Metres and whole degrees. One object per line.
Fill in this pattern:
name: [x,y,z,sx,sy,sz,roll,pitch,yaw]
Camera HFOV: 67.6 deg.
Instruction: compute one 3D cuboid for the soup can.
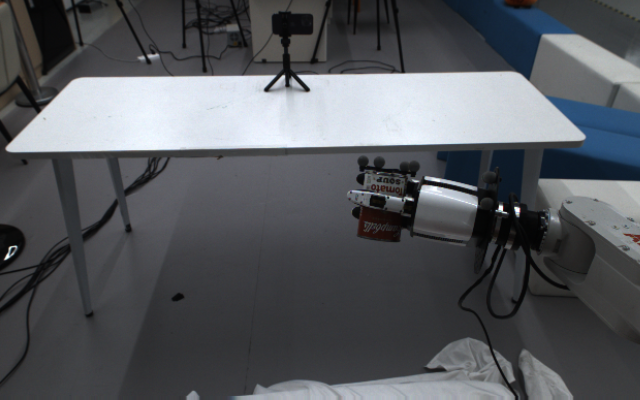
soup can: [0.096,0.009,0.743,0.067,0.101,0.067,7,3,0]
